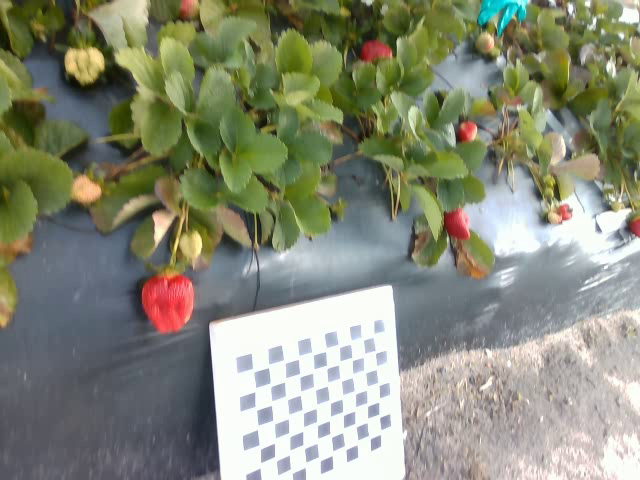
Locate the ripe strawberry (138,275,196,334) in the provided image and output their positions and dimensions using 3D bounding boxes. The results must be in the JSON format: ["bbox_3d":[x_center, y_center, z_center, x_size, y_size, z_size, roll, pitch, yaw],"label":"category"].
[{"bbox_3d":[-0.178,0.073,0.722,0.067,0.075,0.039,-2,0,-36],"label":"ripe strawberry"}]
